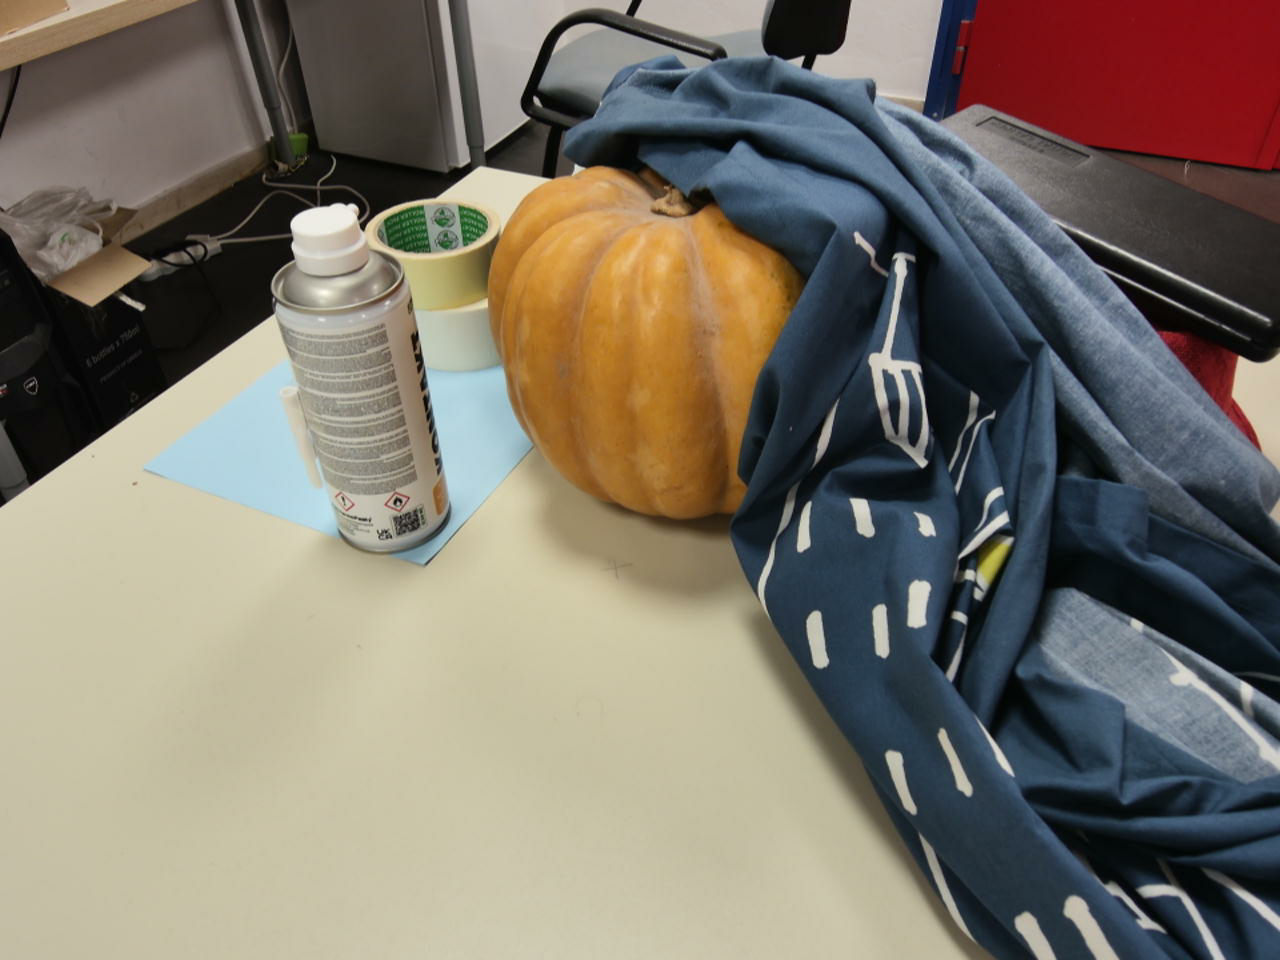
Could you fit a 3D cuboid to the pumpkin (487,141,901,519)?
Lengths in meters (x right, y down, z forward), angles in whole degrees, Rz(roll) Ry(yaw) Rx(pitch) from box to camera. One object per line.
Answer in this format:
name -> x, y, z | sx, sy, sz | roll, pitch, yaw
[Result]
pumpkin -> 0.031, -0.083, 0.560 | 0.230, 0.194, 0.230 | 0, 39, 0
